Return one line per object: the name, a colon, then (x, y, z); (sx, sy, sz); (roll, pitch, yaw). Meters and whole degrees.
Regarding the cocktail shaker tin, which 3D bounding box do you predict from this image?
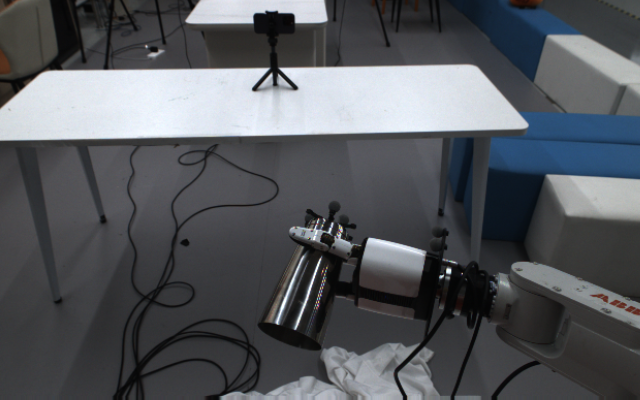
cocktail shaker tin: (-0.013, 0.112, 0.689); (0.093, 0.093, 0.170); (13, 61, 15)
